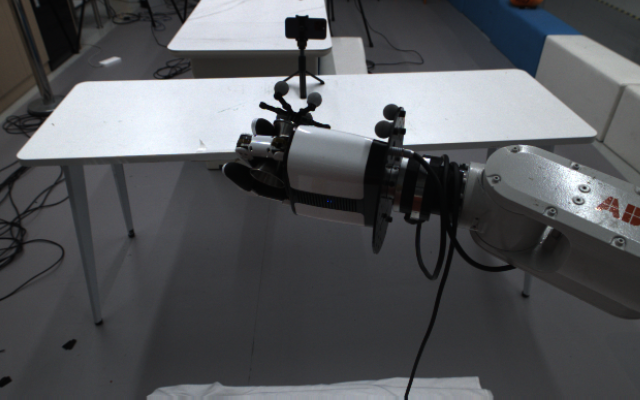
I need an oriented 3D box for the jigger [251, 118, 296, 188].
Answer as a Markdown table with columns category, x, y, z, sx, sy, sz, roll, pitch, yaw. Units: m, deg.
| category | x | y | z | sx | sy | sz | roll | pitch | yaw |
| --- | --- | --- | --- | --- | --- | --- | --- | --- | --- |
| jigger | -0.046 | -0.055 | 0.554 | 0.043 | 0.043 | 0.071 | 15 | 70 | 18 |
